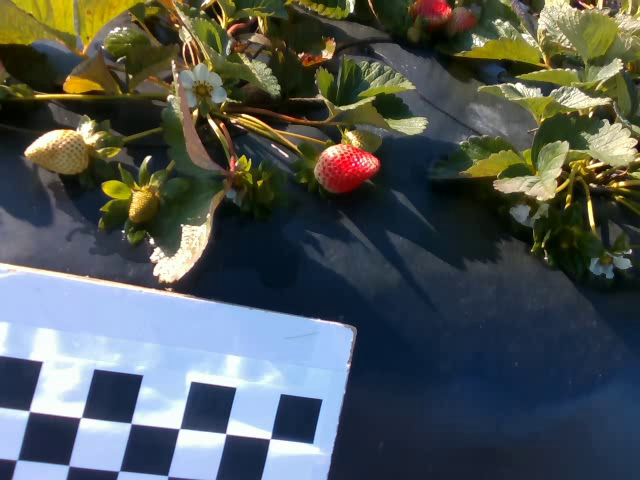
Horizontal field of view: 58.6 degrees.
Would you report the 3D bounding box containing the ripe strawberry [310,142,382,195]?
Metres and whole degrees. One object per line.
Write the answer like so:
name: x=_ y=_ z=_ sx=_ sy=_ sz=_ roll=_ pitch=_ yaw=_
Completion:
ripe strawberry: x=0.017 y=-0.040 z=0.319 sx=0.042 sy=0.037 sz=0.045 roll=-7 pitch=0 yaw=-42
